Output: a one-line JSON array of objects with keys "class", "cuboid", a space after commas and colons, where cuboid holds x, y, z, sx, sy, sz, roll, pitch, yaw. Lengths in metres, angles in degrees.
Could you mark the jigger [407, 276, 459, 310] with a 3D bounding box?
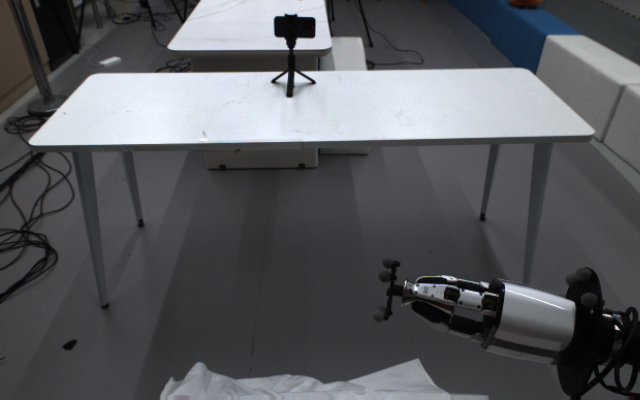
[{"class": "jigger", "cuboid": [0.154, 0.127, 0.654, 0.071, 0.043, 0.043, 8, 35, 14]}]
